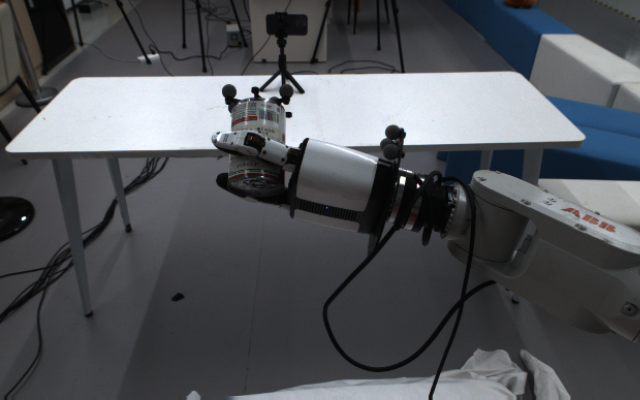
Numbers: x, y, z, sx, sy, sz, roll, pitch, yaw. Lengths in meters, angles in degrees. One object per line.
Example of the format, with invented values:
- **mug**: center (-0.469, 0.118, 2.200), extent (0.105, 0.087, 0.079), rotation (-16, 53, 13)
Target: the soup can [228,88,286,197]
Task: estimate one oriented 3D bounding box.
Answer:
- **soup can**: center (-0.074, -0.061, 0.577), extent (0.067, 0.067, 0.101), rotation (1, 72, -2)
